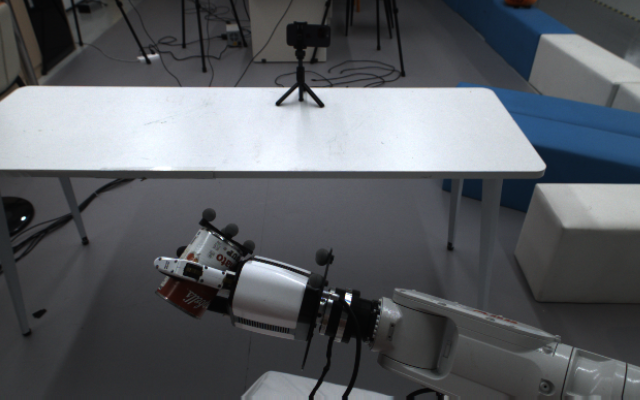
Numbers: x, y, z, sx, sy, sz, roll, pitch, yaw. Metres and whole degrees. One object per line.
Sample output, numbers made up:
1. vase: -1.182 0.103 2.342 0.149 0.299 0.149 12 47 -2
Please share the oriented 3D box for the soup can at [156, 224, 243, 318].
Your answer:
1. soup can: -0.156 0.095 0.627 0.067 0.067 0.101 25 72 29
